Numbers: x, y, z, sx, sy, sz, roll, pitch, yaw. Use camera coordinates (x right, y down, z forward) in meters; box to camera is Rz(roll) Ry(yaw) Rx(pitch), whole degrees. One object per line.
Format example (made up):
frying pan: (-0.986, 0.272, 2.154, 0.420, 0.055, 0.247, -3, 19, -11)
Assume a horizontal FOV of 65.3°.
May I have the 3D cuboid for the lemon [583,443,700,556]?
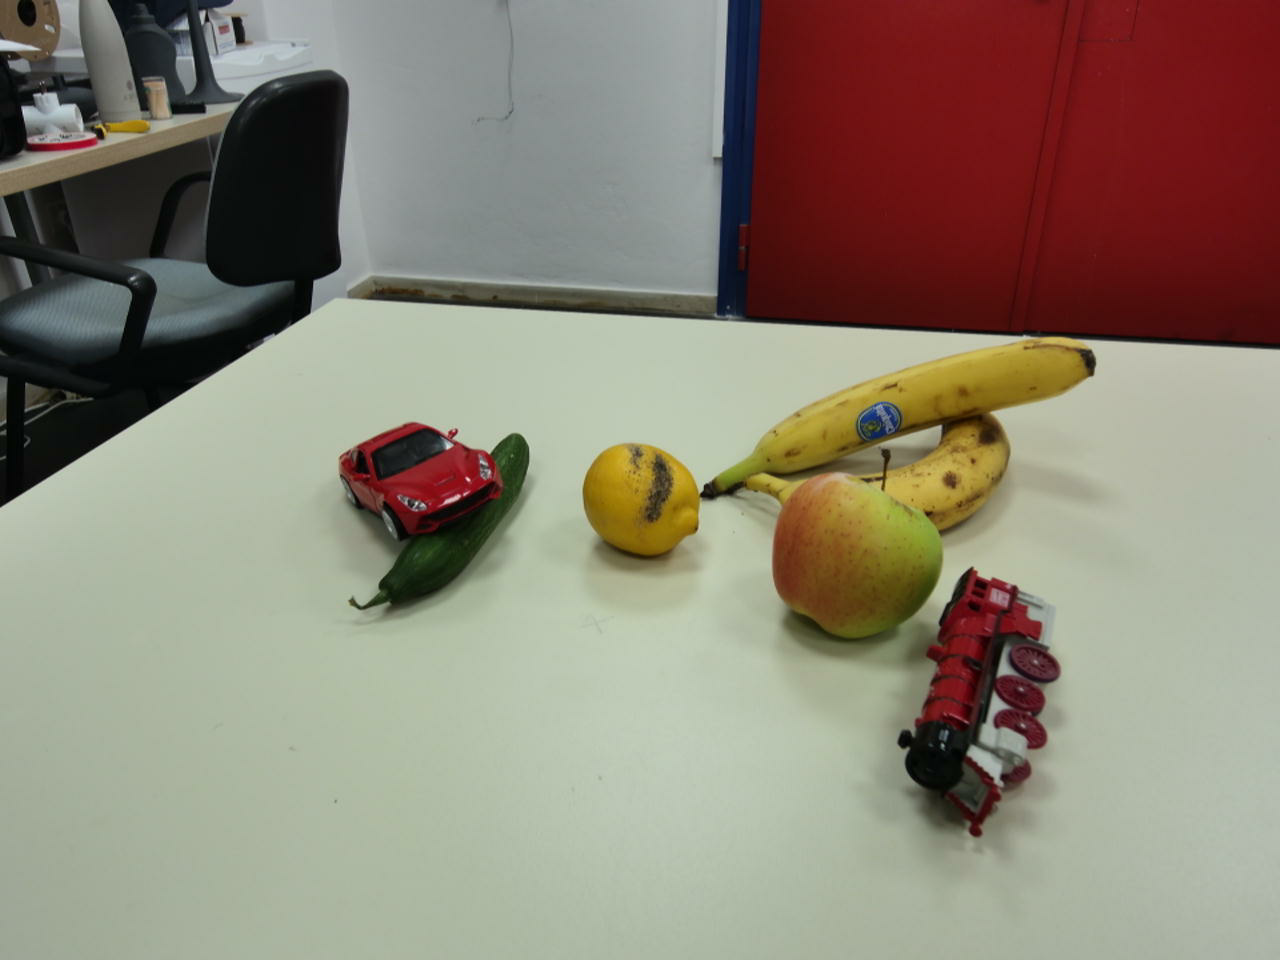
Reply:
lemon: (0.001, 0.010, 0.521, 0.061, 0.056, 0.058, 0, 26, 4)
